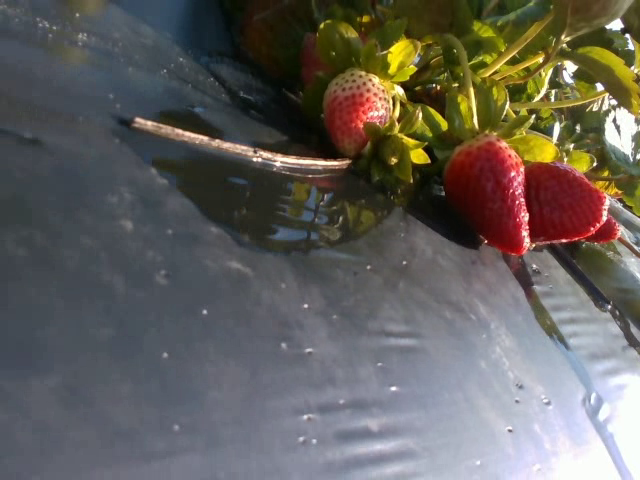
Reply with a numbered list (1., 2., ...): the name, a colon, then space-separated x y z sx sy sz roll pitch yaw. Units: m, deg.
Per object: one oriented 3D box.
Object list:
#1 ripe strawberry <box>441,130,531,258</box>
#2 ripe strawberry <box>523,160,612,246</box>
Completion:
1. ripe strawberry: 0.060 -0.015 0.208 0.032 0.045 0.023 8 -33 -45
2. ripe strawberry: 0.085 -0.015 0.224 0.031 0.036 0.039 22 -1 -41
